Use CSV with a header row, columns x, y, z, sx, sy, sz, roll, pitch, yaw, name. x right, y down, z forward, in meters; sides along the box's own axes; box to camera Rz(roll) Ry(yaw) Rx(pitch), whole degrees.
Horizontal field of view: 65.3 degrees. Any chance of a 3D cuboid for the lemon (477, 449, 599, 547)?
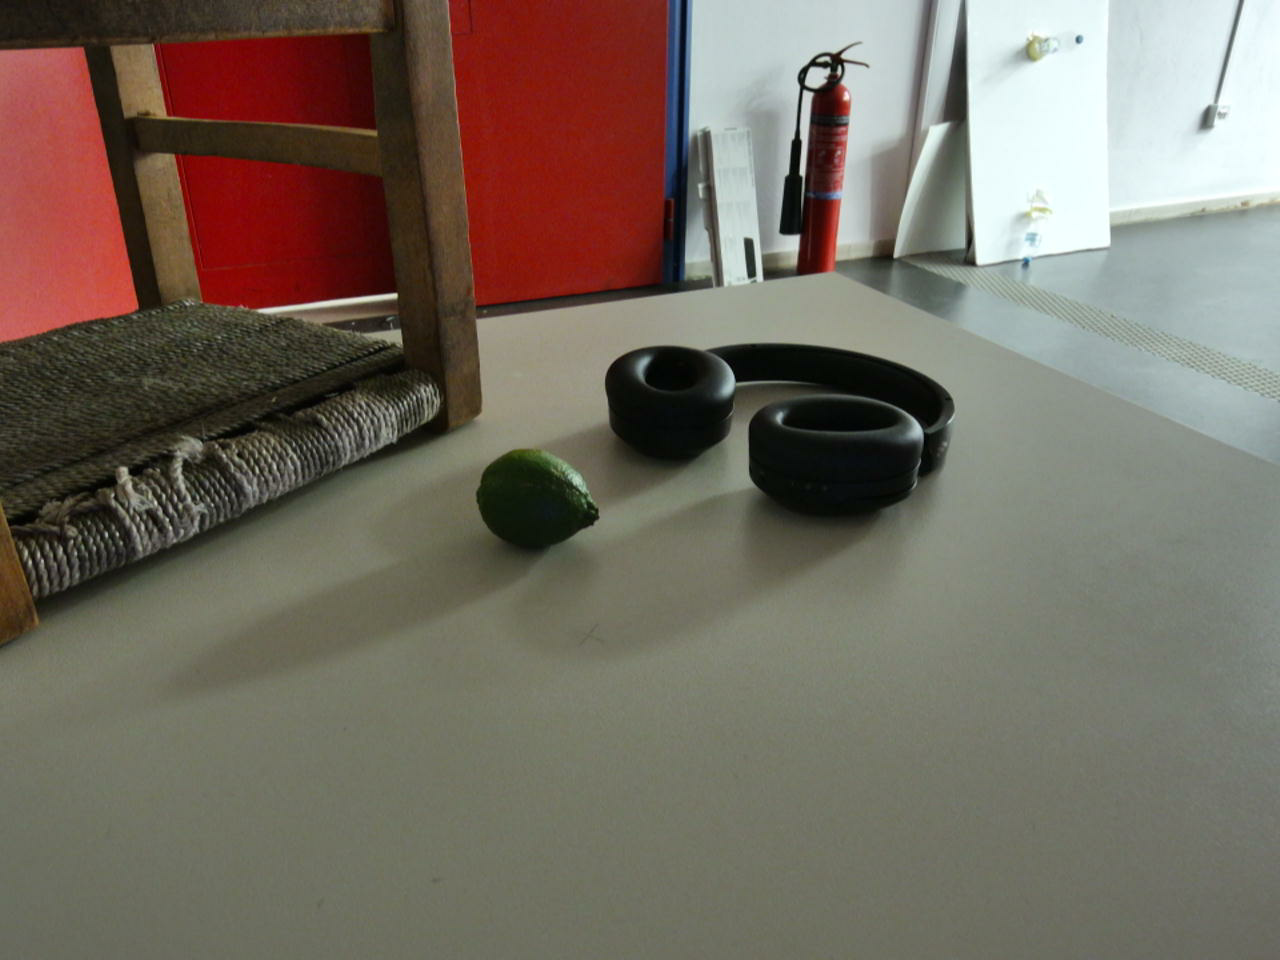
x,y,z,sx,sy,sz,roll,pitch,yaw,name
-0.055,0.009,0.520,0.057,0.051,0.054,-13,28,-26,lemon
